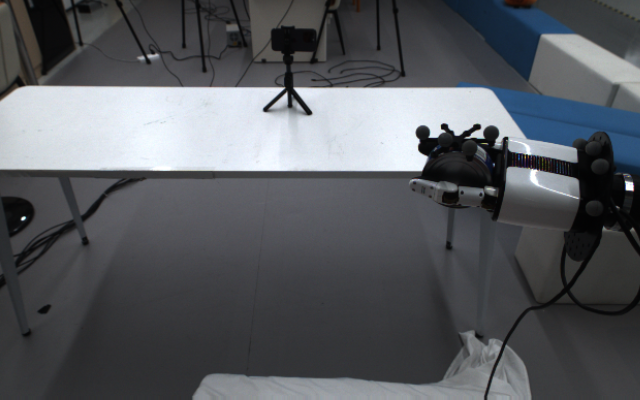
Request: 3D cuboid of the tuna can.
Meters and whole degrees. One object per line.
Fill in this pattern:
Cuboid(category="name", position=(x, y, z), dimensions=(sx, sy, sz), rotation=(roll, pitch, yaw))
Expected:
Cuboid(category="tuna can", position=(0.176, -0.035, 0.615), dimensions=(0.085, 0.085, 0.034), rotation=(14, 41, 16))
